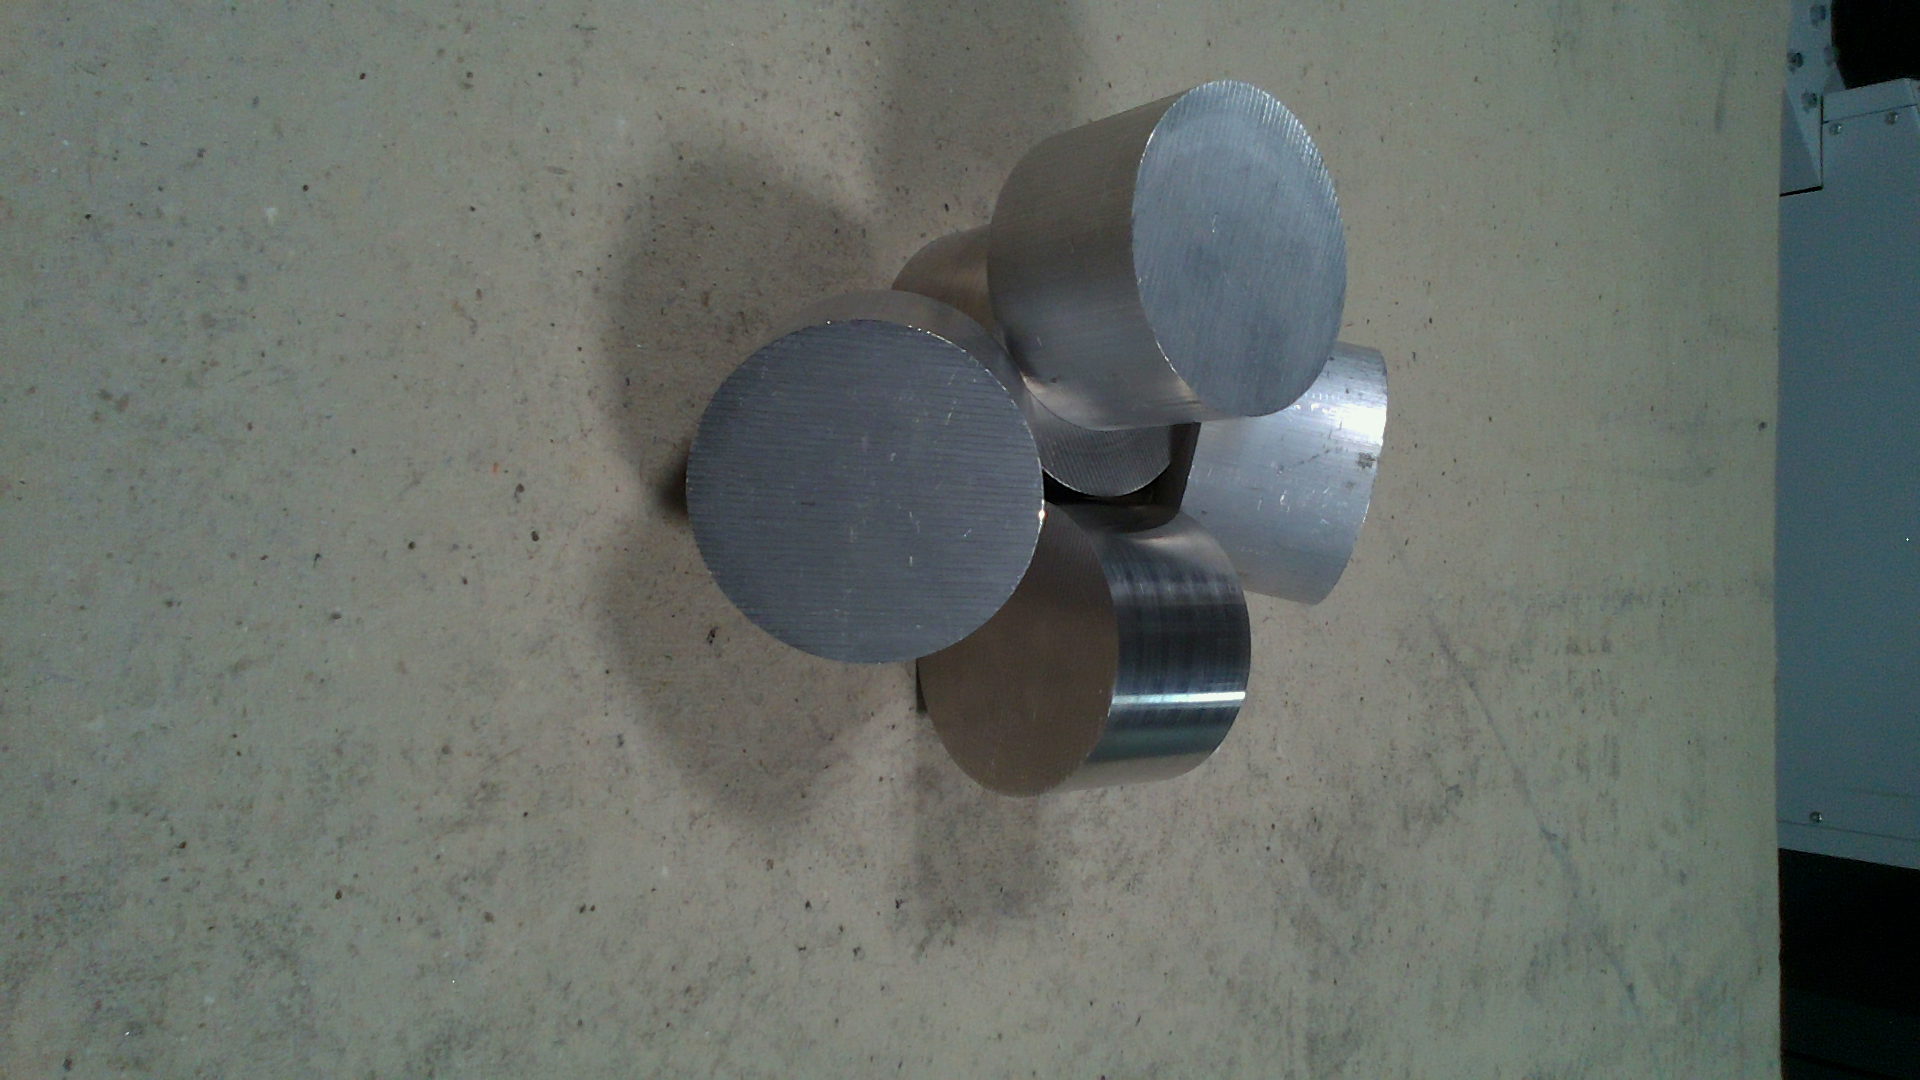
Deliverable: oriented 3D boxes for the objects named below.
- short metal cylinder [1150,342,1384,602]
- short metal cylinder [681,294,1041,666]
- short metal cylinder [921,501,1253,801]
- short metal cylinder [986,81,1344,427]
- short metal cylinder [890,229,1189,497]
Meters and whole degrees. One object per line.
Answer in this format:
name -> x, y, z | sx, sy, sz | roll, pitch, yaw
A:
short metal cylinder -> 0.091, -0.025, 0.422 | 0.050, 0.080, 0.080 | 12, 80, 0
short metal cylinder -> -0.021, -0.017, 0.329 | 0.080, 0.050, 0.080 | 0, 107, 1
short metal cylinder -> 0.033, 0.029, 0.380 | 0.050, 0.080, 0.080 | 2, 89, -40
short metal cylinder -> 0.053, -0.070, 0.351 | 0.080, 0.050, 0.080 | 0, 90, -40
short metal cylinder -> 0.023, -0.052, 0.392 | 0.080, 0.050, 0.080 | 0, 90, -40
